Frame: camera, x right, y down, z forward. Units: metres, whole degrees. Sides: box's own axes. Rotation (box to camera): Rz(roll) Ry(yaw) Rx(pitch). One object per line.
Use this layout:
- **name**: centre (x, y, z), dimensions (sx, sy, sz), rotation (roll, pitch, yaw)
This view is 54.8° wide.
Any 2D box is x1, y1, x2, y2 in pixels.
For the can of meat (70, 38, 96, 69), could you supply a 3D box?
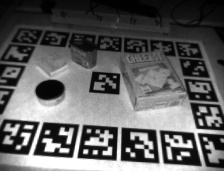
- **can of meat**: centre (-0.111, -0.119, 0.814), dimensions (0.101, 0.084, 0.058), rotation (26, 50, 19)

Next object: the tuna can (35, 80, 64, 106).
- **tuna can**: centre (-0.199, 0.023, 0.693), dimensions (0.086, 0.034, 0.085), rotation (3, 51, -3)

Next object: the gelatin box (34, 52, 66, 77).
- **gelatin box**: centre (-0.226, -0.080, 0.791), dimensions (0.088, 0.030, 0.074), rotation (39, 52, 23)

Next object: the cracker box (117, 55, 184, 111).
- **cracker box**: centre (0.126, -0.021, 0.757), dimensions (0.165, 0.072, 0.211), rotation (-7, 47, -14)
